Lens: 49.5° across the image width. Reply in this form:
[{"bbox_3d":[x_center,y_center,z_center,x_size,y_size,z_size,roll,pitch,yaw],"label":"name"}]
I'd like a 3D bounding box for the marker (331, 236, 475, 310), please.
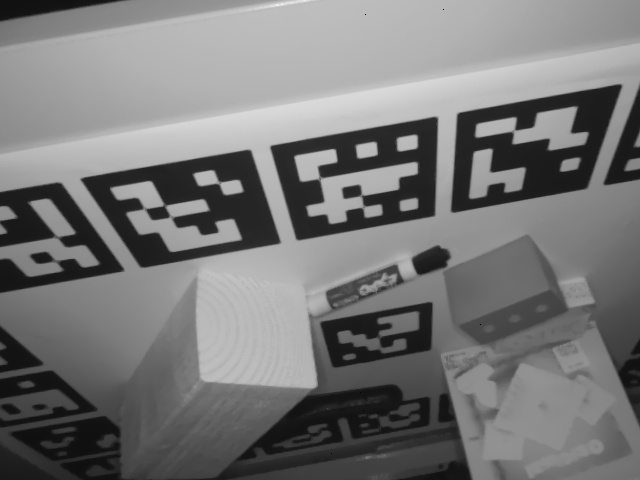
[{"bbox_3d":[0.066,0.026,0.554,0.120,0.020,0.020,-23,136,14],"label":"marker"}]

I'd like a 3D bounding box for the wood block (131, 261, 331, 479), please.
[{"bbox_3d":[-0.082,0.118,0.581,0.091,0.091,0.203,13,137,-28],"label":"wood block"}]

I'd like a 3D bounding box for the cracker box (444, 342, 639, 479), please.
[{"bbox_3d":[0.219,0.216,0.652,0.164,0.215,0.071,-11,141,4],"label":"cracker box"}]

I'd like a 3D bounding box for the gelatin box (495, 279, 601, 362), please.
[{"bbox_3d":[0.208,0.075,0.641,0.089,0.030,0.073,-11,138,0],"label":"gelatin box"}]

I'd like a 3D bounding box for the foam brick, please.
[{"bbox_3d":[0.160,0.041,0.569,0.077,0.051,0.053,-27,135,18],"label":"foam brick"}]

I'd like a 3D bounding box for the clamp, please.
[{"bbox_3d":[-0.029,0.189,0.710,0.200,0.037,0.166,-32,135,22],"label":"clamp"}]
